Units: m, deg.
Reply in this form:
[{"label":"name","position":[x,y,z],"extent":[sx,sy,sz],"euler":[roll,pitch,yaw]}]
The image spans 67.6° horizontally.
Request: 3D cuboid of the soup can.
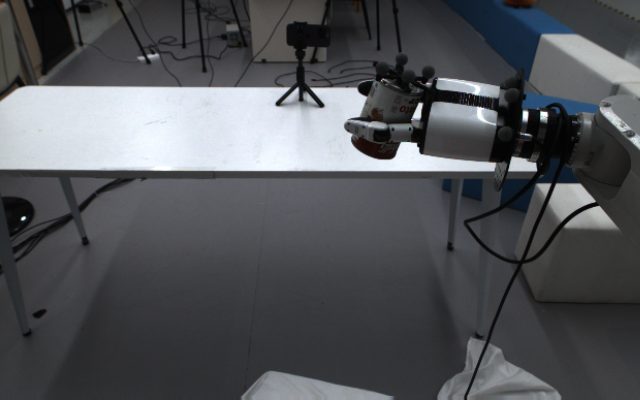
[{"label":"soup can","position":[0.091,-0.115,0.653],"extent":[0.067,0.101,0.067],"euler":[14,35,-10]}]
